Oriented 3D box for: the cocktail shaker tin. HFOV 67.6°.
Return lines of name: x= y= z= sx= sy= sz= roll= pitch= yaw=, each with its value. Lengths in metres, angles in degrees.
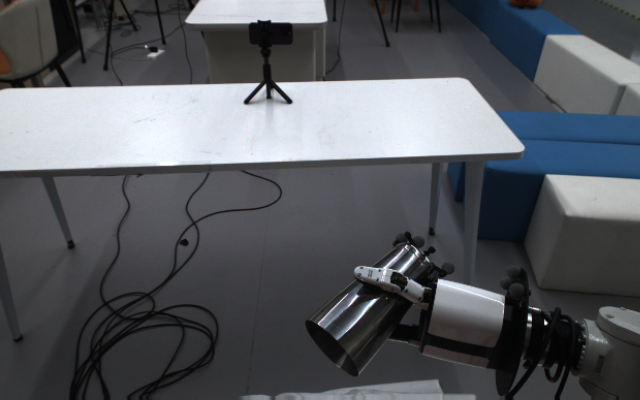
cocktail shaker tin: x=0.073 y=0.129 z=0.633 sx=0.170 sy=0.093 sz=0.093 roll=-38 pitch=49 yaw=-23
